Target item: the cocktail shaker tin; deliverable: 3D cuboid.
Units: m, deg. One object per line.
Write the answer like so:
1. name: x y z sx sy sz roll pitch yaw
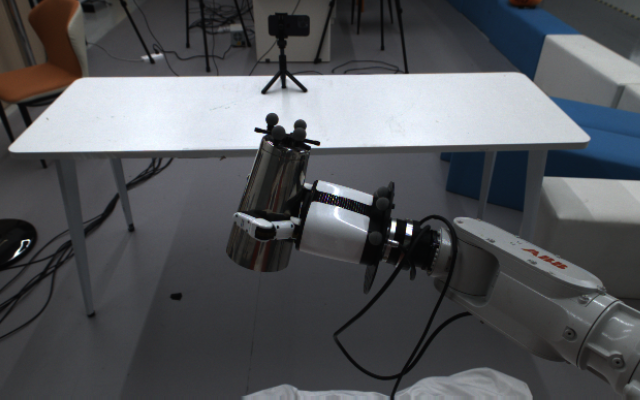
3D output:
1. cocktail shaker tin: -0.066 0.002 0.663 0.093 0.170 0.093 15 20 -5
